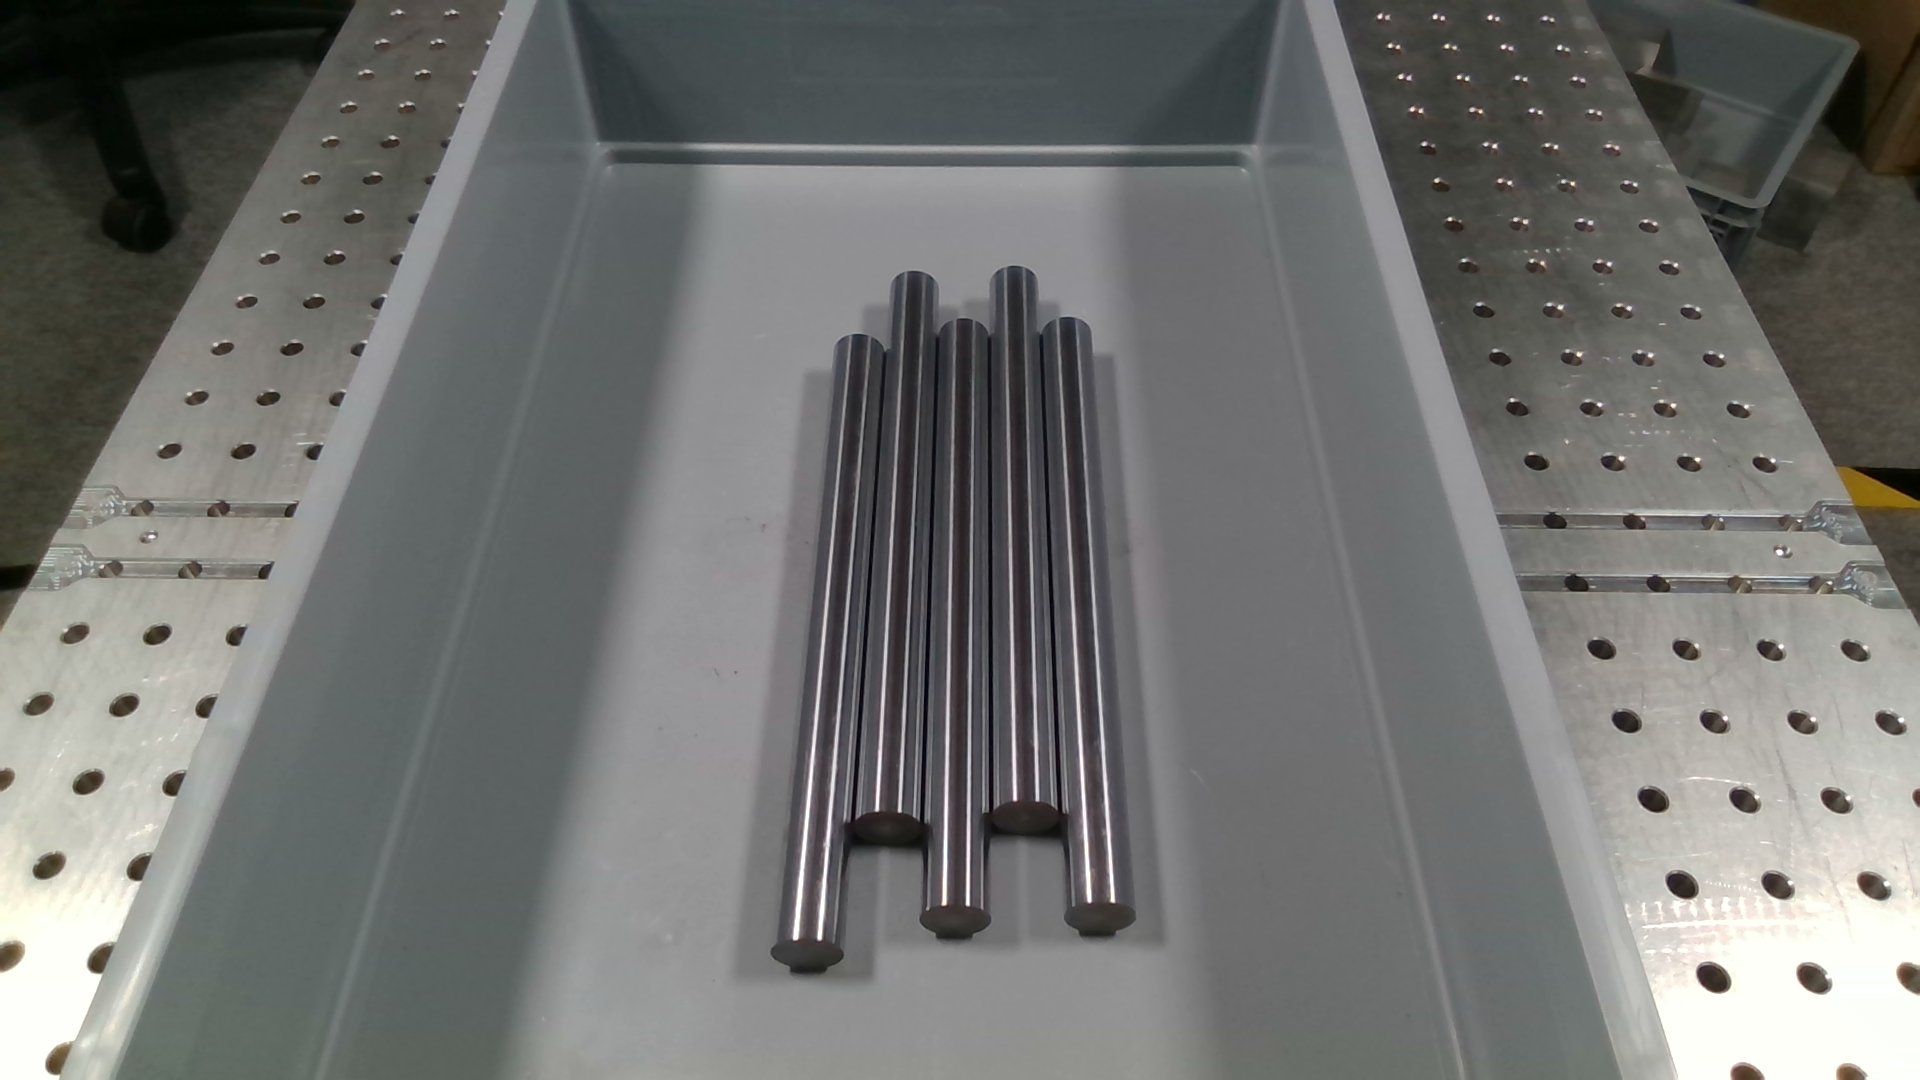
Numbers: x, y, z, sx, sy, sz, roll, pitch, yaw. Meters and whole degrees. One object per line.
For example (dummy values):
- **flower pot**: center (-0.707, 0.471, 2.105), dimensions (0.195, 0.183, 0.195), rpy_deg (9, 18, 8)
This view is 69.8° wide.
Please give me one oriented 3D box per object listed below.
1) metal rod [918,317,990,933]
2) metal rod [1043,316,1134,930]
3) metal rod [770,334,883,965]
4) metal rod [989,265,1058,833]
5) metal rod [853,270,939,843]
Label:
- **metal rod**: center (0.000, 0.016, 0.572), dimensions (0.025, 0.025, 0.299), rpy_deg (0, 50, 0)
- **metal rod**: center (0.050, 0.015, 0.573), dimensions (0.025, 0.025, 0.299), rpy_deg (0, 50, 0)
- **metal rod**: center (-0.050, 0.025, 0.565), dimensions (0.025, 0.025, 0.299), rpy_deg (0, 50, 0)
- **metal rod**: center (0.025, -0.014, 0.597), dimensions (0.025, 0.025, 0.299), rpy_deg (0, 50, 0)
- **metal rod**: center (-0.025, -0.011, 0.595), dimensions (0.025, 0.025, 0.299), rpy_deg (0, 50, 0)
